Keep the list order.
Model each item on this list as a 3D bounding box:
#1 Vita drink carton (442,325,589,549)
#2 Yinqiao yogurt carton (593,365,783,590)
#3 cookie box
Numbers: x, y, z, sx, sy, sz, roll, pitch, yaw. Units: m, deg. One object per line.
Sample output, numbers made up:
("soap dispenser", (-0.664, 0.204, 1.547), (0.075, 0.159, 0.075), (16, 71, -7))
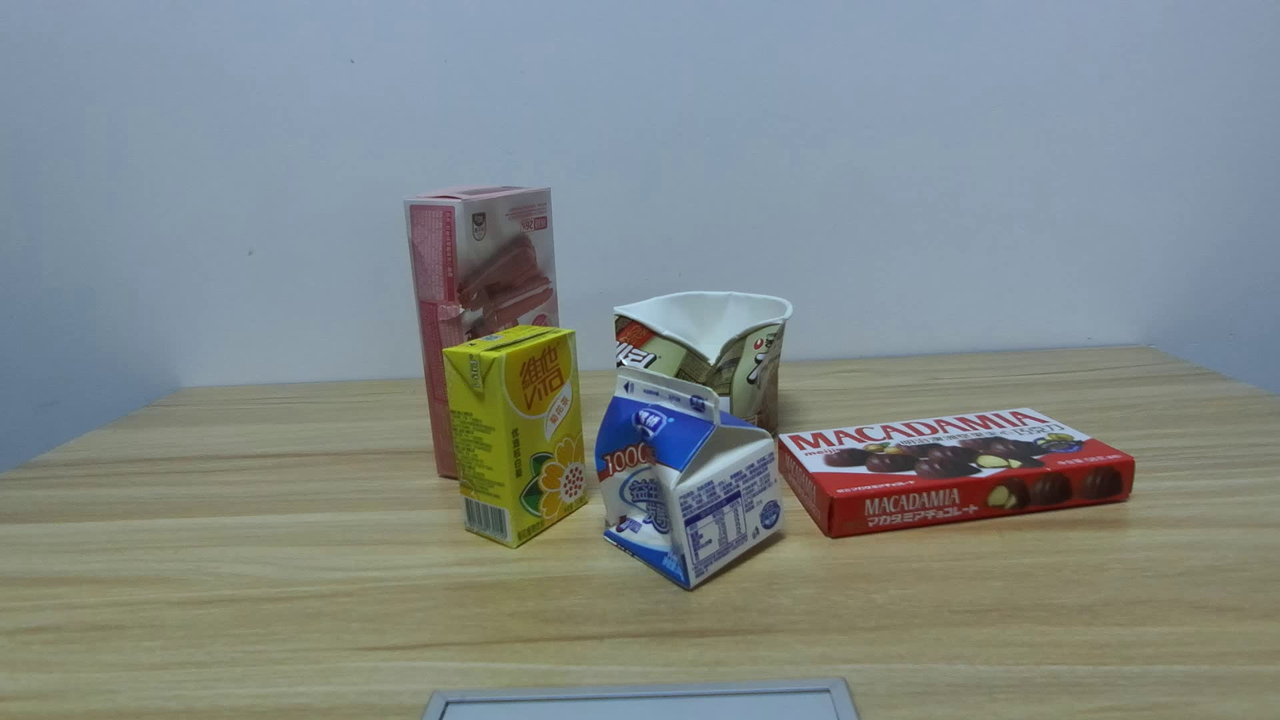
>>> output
("Vita drink carton", (-0.068, 0.040, 0.403), (0.043, 0.109, 0.067), (8, 19, 34))
("Yinqiao yogurt carton", (0.022, 0.051, 0.365), (0.071, 0.094, 0.077), (-21, 22, -35))
("cookie box", (-0.101, -0.020, 0.478), (0.048, 0.187, 0.105), (5, 17, 24))
